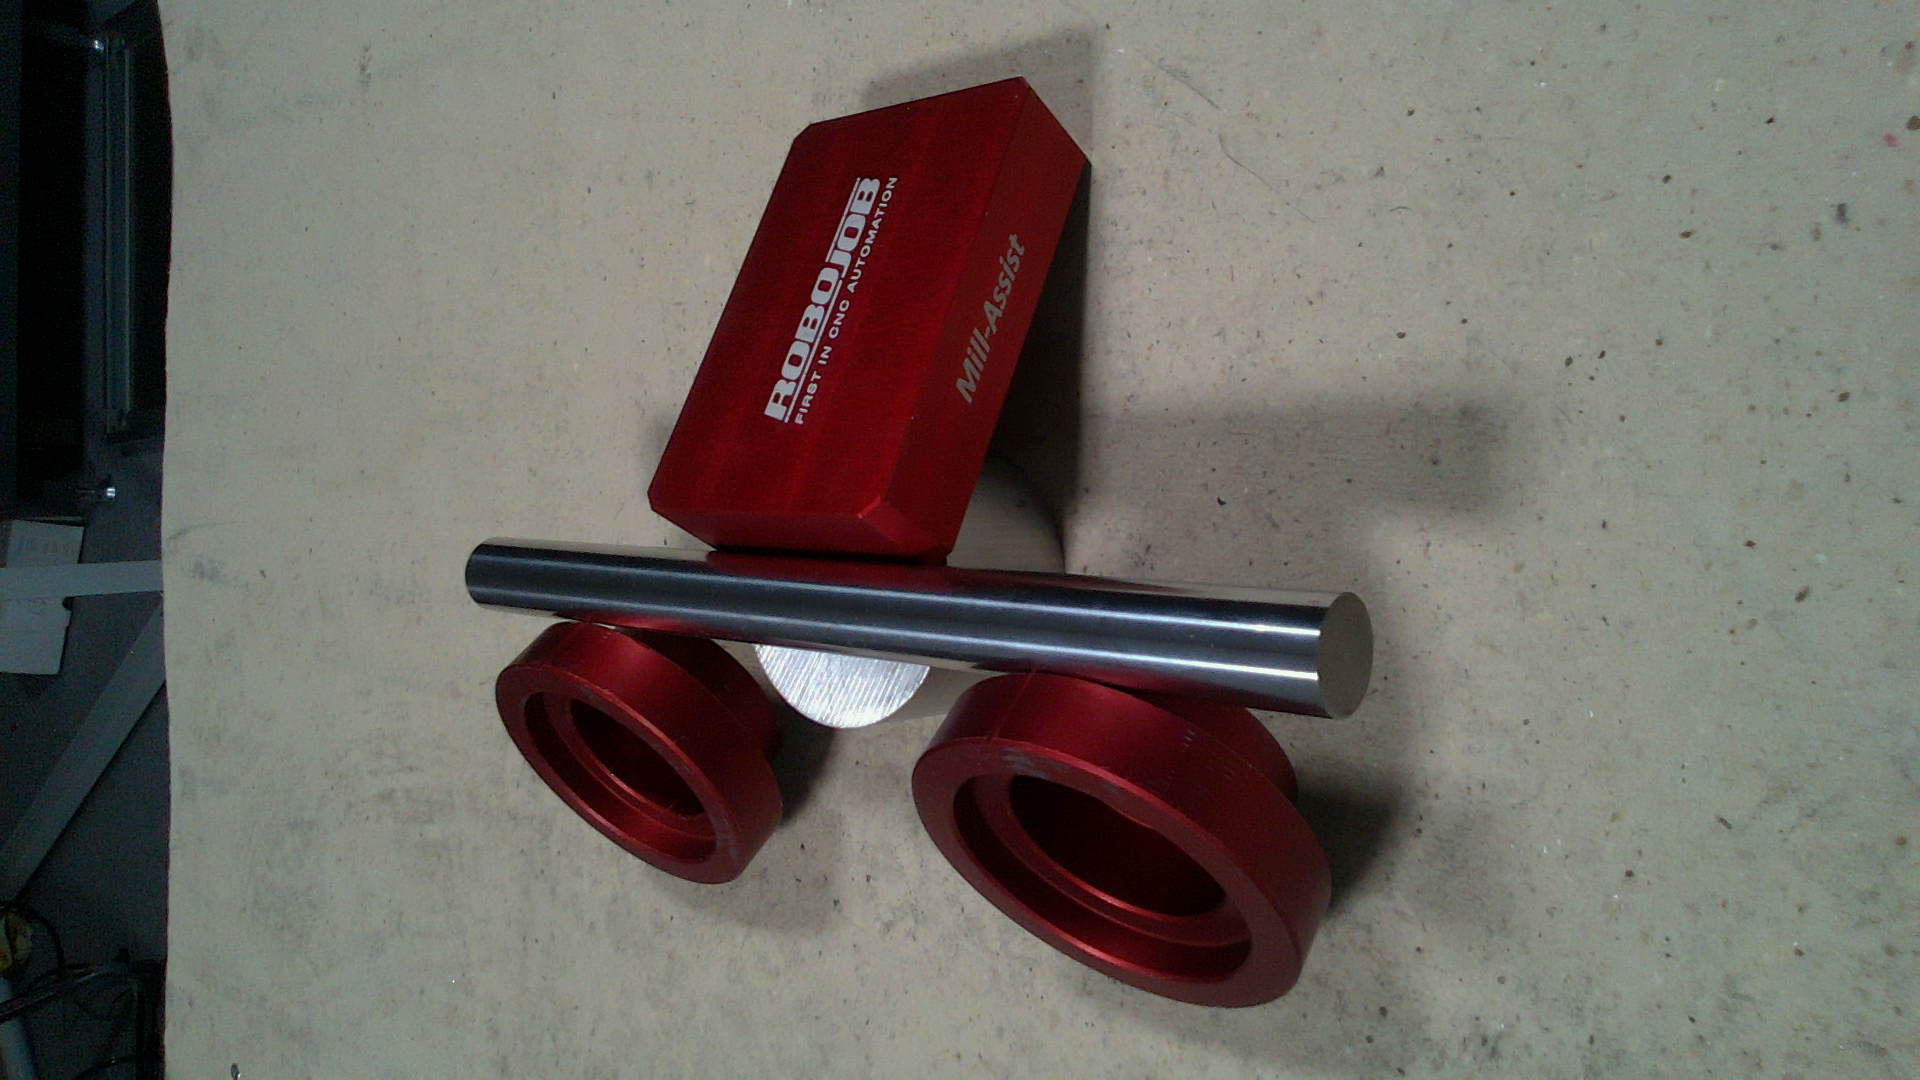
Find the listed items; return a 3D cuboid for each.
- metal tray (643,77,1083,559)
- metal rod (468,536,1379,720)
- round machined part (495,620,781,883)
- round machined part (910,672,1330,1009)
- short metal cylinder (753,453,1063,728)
[{"bbox_3d":[-0.027,-0.059,0.379,0.090,0.030,0.130,3,66,40],"label":"metal tray"},{"bbox_3d":[-0.038,0.017,0.363,0.299,0.025,0.025,3,92,40],"label":"metal rod"},{"bbox_3d":[-0.098,0.062,0.445,0.098,0.042,0.098,22,140,20],"label":"round machined part"},{"bbox_3d":[0.041,0.064,0.327,0.098,0.042,0.098,23,144,18],"label":"round machined part"},{"bbox_3d":[-0.017,0.011,0.394,0.080,0.050,0.080,0,90,40],"label":"short metal cylinder"}]
